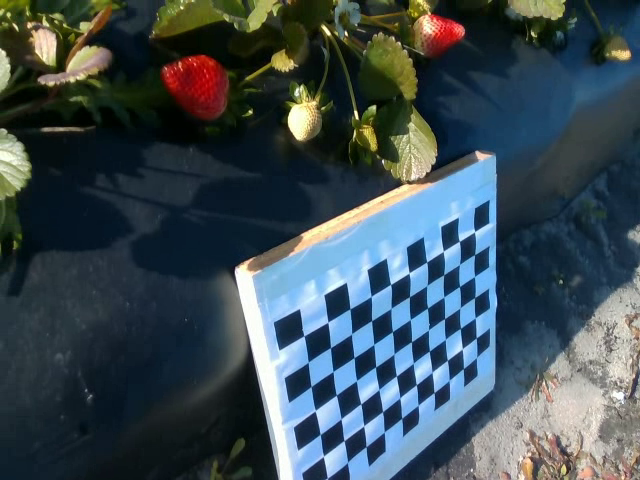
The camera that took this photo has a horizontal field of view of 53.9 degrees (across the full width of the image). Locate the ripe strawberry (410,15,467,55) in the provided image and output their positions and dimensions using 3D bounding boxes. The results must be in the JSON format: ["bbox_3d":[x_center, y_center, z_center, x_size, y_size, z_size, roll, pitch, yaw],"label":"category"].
[{"bbox_3d":[0.089,-0.154,0.469,0.045,0.037,0.042,-5,40,24],"label":"ripe strawberry"}]

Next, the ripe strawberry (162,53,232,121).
[{"bbox_3d":[-0.072,-0.089,0.352,0.036,0.044,0.053,20,9,37],"label":"ripe strawberry"}]
